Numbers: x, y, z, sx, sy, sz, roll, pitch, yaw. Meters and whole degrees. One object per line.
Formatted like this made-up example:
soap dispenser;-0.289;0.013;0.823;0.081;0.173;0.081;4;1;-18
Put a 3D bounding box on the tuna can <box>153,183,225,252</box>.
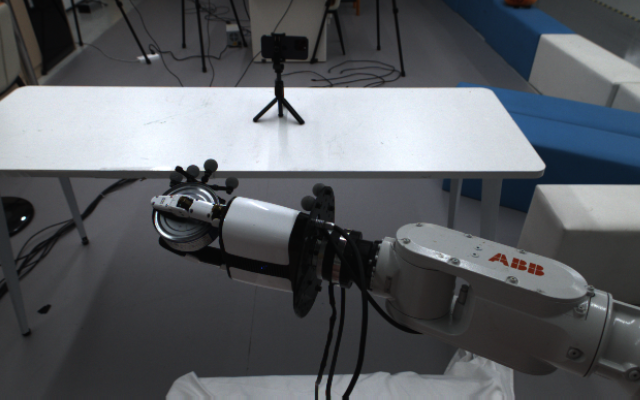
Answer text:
tuna can;-0.166;0.022;0.617;0.085;0.034;0.085;-3;57;4
